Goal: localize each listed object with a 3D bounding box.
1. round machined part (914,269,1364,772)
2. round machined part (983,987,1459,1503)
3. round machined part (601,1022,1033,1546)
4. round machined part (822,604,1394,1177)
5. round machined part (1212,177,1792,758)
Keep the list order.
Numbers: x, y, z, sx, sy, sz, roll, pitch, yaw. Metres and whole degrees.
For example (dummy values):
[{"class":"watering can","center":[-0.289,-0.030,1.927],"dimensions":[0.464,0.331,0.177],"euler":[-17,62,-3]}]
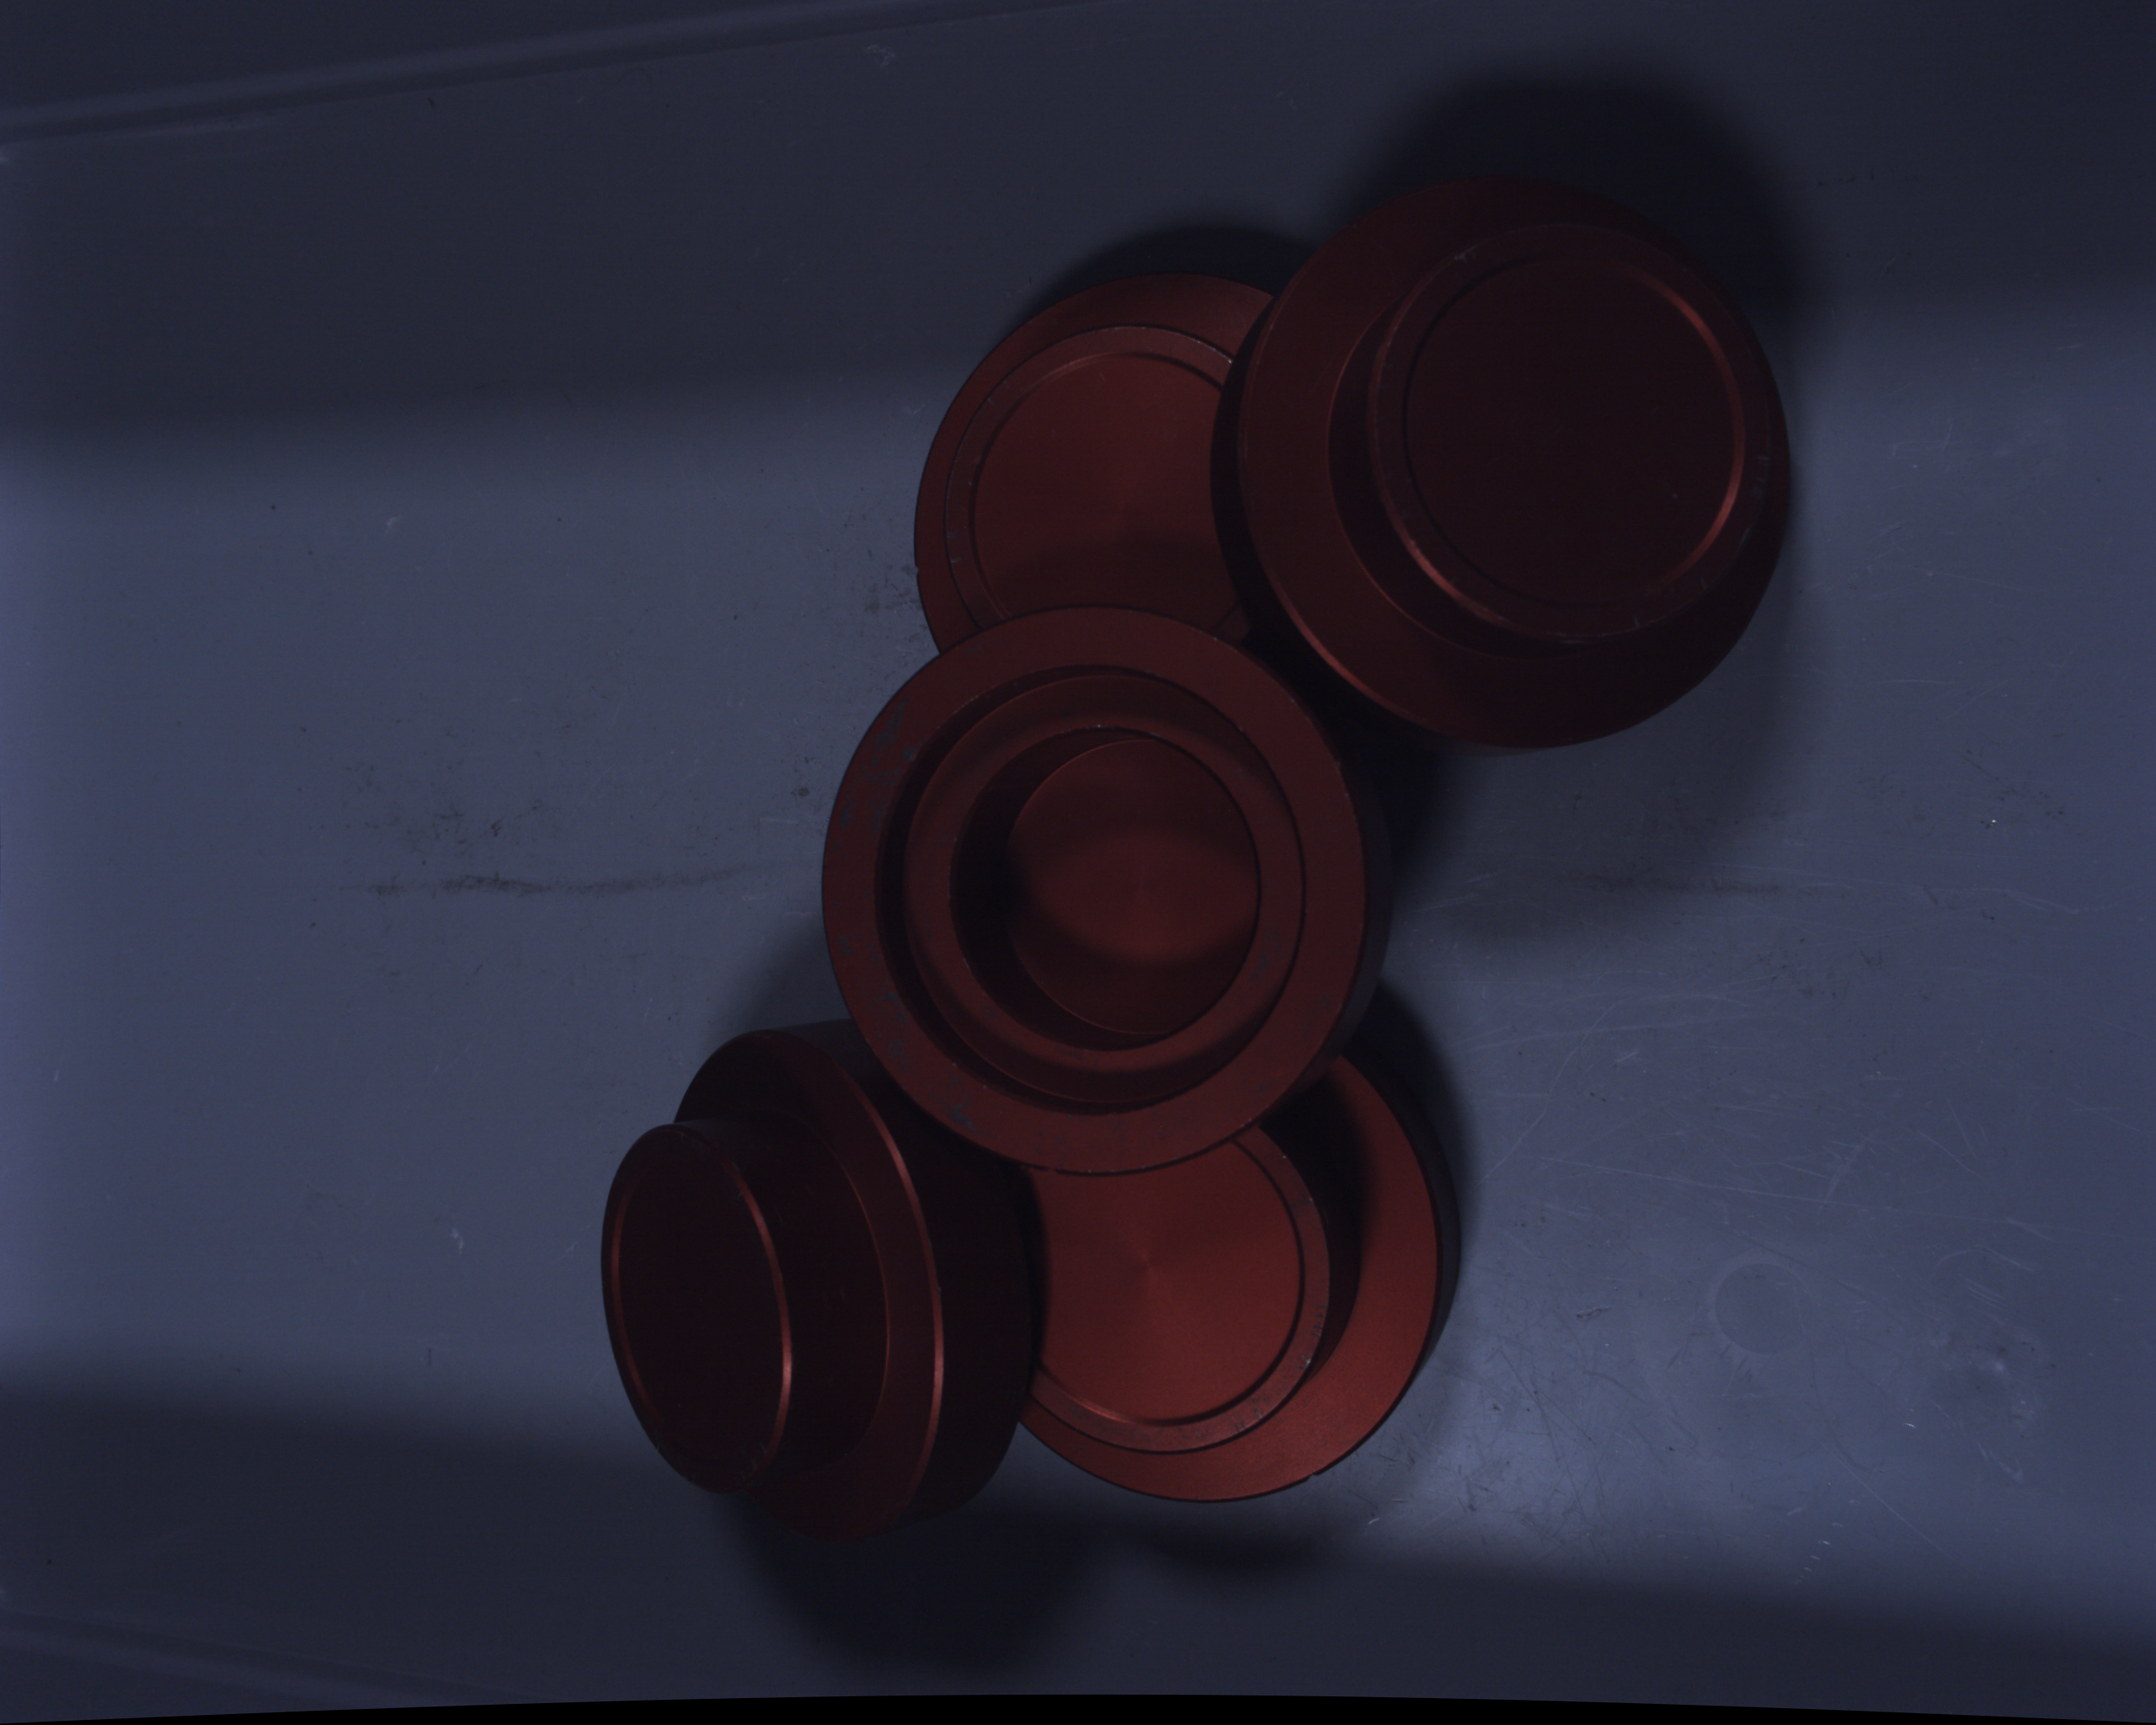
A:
[{"class":"round machined part","center":[0.014,-0.063,0.394],"dimensions":[0.098,0.042,0.097],"euler":[0,90,19]},{"class":"round machined part","center":[0.019,0.072,0.392],"dimensions":[0.098,0.042,0.097],"euler":[0,90,19]},{"class":"round machined part","center":[-0.056,0.081,0.396],"dimensions":[0.098,0.042,0.097],"euler":[6,98,49]},{"class":"round machined part","center":[0.008,0.005,0.373],"dimensions":[0.098,0.042,0.097],"euler":[0,90,19]},{"class":"round machined part","center":[0.075,-0.067,0.350],"dimensions":[0.099,0.042,0.097],"euler":[0,87,-11]}]
